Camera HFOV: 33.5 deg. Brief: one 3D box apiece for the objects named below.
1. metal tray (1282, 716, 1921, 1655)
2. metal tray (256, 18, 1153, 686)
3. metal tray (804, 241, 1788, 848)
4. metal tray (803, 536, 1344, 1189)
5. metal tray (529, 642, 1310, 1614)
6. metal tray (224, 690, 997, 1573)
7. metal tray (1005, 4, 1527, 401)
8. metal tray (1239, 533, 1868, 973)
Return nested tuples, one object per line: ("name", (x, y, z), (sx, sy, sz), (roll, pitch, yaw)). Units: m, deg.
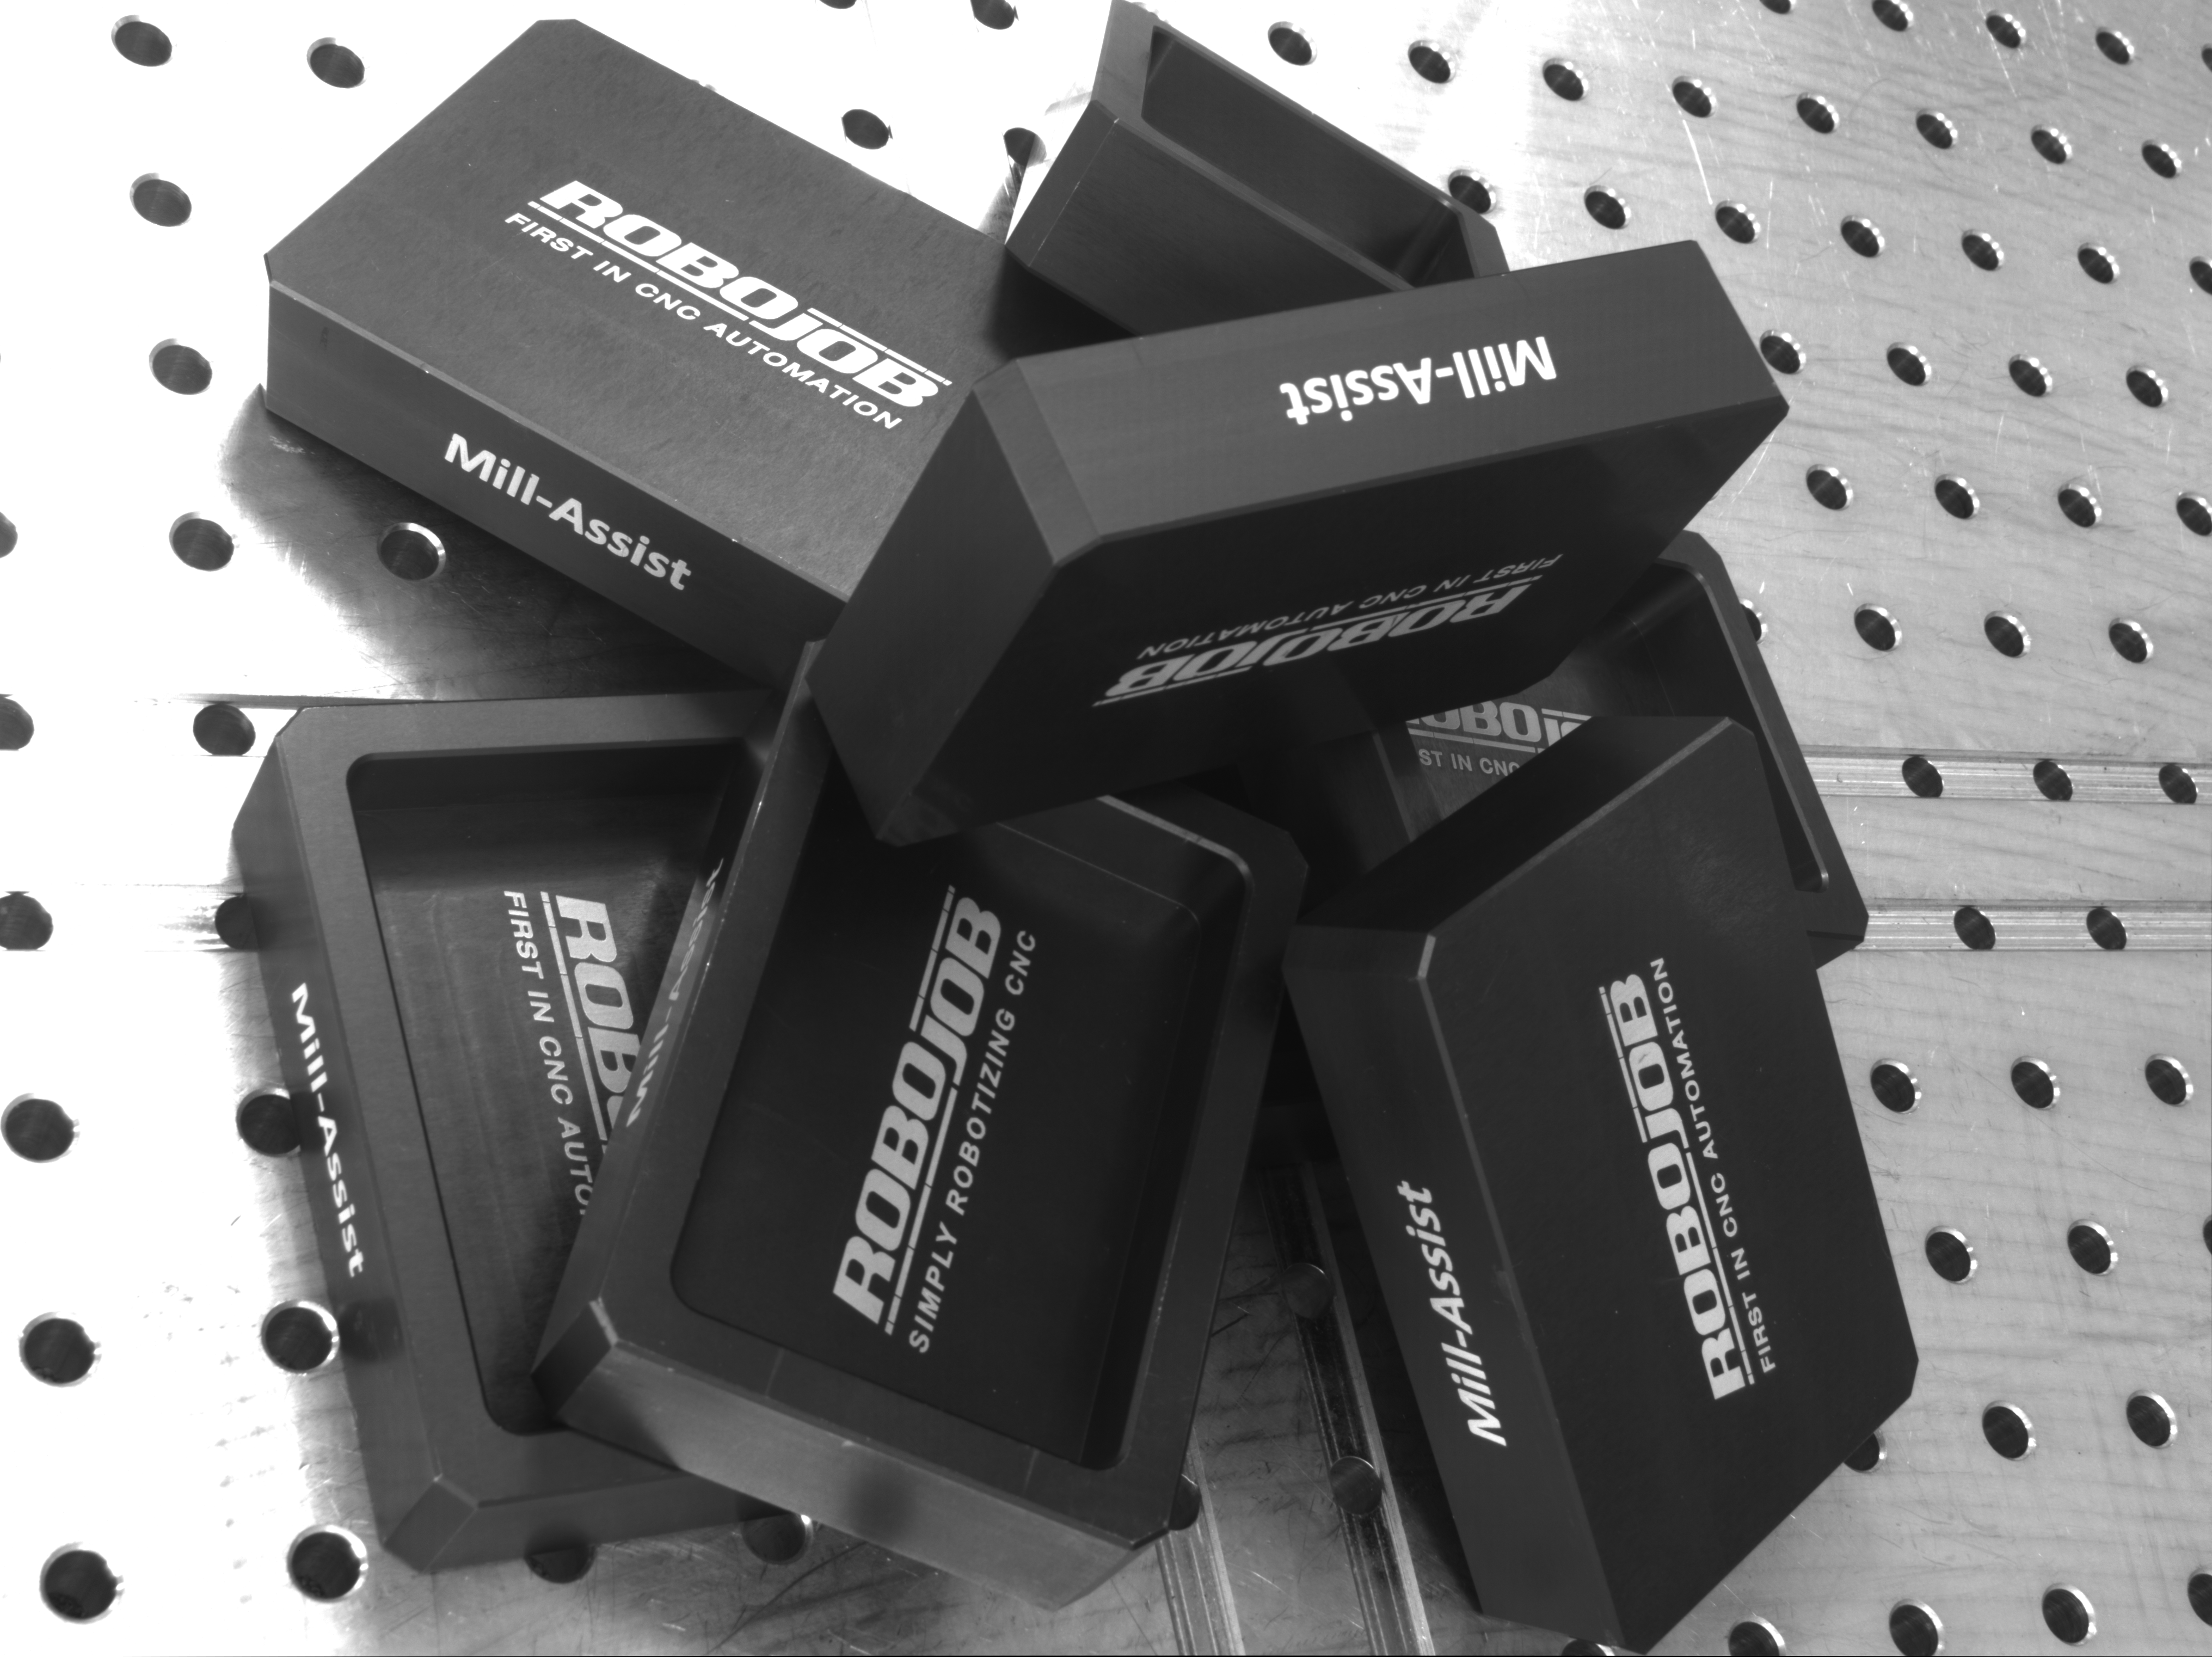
("metal tray", (0.085, 0.057, 0.607), (0.090, 0.030, 0.130), (-33, 113, -37))
("metal tray", (-0.068, -0.080, 0.630), (0.130, 0.030, 0.090), (29, 51, 10))
("metal tray", (0.028, -0.043, 0.559), (0.130, 0.090, 0.030), (-14, 69, -29))
("metal tray", (-0.005, -0.004, 0.638), (0.090, 0.030, 0.130), (-3, 61, -32))
("metal tray", (-0.025, 0.043, 0.561), (0.090, 0.030, 0.130), (24, 53, -13))
("metal tray", (-0.078, 0.043, 0.572), (0.090, 0.030, 0.130), (-4, 63, -30))
("metal tray", (0.031, -0.109, 0.679), (0.090, 0.030, 0.130), (29, 19, -9))
("metal tray", (0.076, -0.016, 0.666), (0.130, 0.030, 0.090), (6, 57, -45))
